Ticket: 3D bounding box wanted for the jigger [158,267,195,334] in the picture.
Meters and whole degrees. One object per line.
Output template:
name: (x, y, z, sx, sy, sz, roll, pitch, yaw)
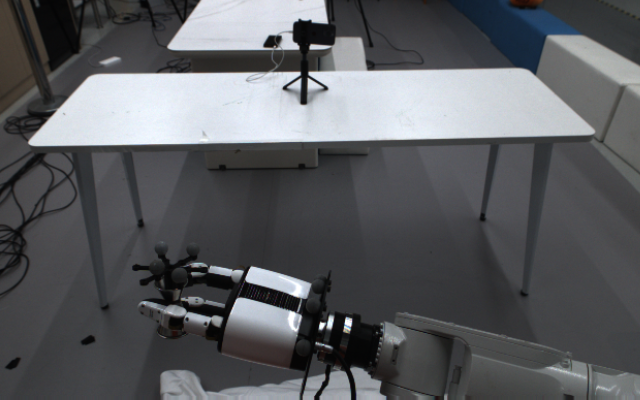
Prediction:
jigger: (-0.181, 0.129, 0.602, 0.043, 0.071, 0.043, 2, 20, -1)
